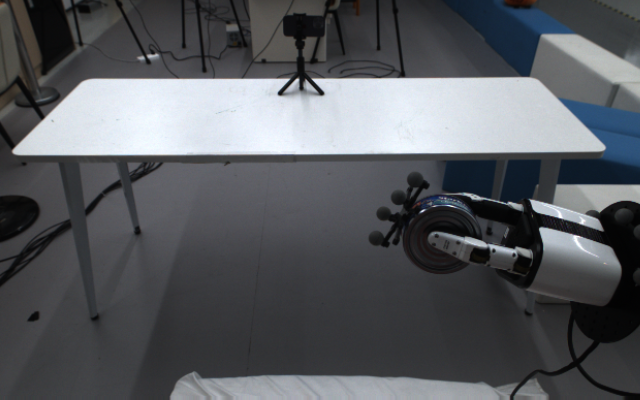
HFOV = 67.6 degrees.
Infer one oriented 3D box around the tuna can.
[{"bbox_3d":[0.137,0.035,0.540,0.085,0.085,0.034,3,20,1],"label":"tuna can"}]
